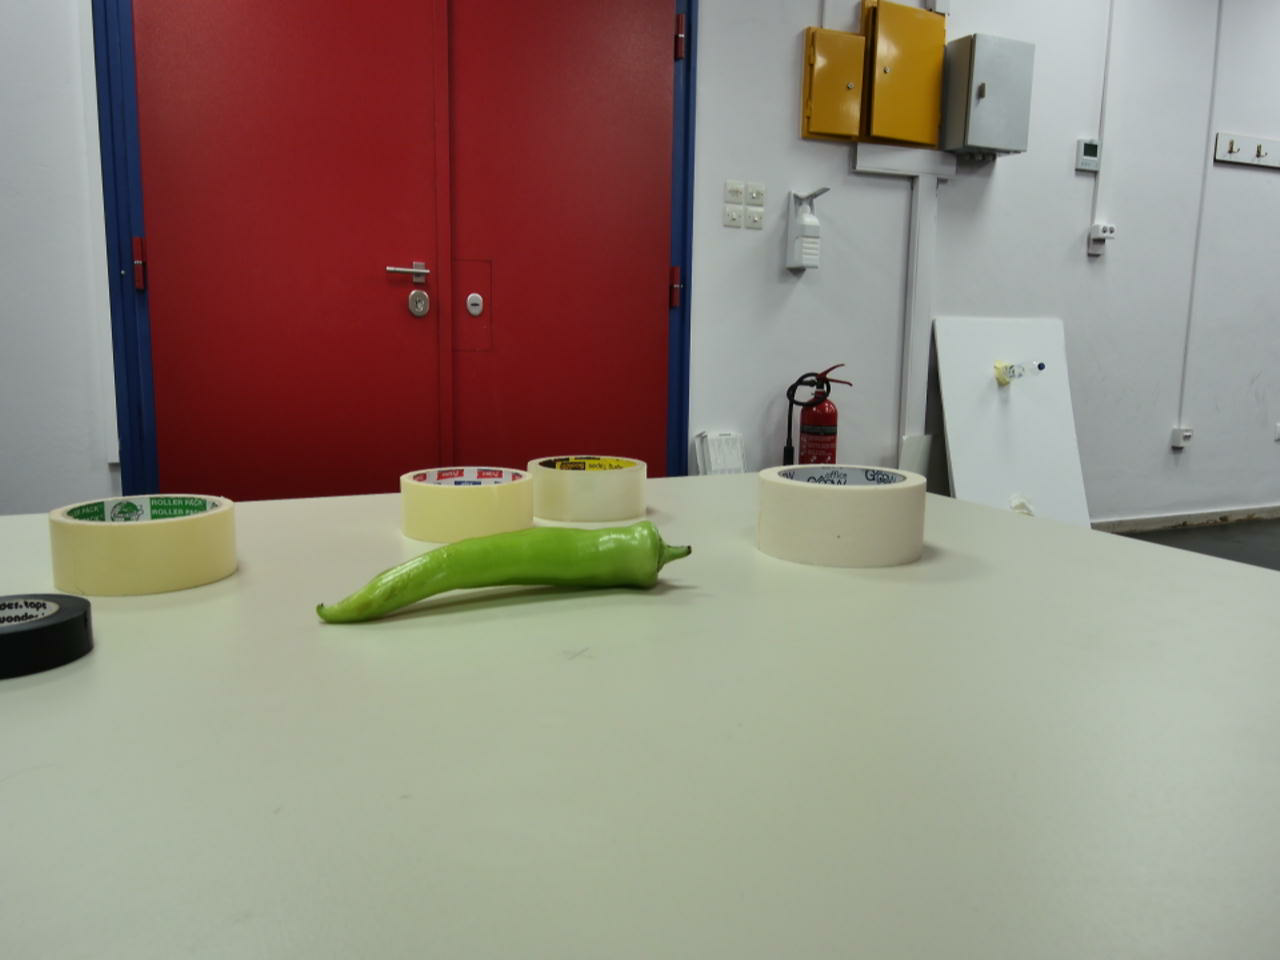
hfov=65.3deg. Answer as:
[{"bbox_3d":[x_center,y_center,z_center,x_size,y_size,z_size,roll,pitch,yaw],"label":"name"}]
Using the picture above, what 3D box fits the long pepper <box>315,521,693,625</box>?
[{"bbox_3d":[-0.068,0.044,0.521,0.197,0.038,0.047,-3,7,-23],"label":"long pepper"}]
